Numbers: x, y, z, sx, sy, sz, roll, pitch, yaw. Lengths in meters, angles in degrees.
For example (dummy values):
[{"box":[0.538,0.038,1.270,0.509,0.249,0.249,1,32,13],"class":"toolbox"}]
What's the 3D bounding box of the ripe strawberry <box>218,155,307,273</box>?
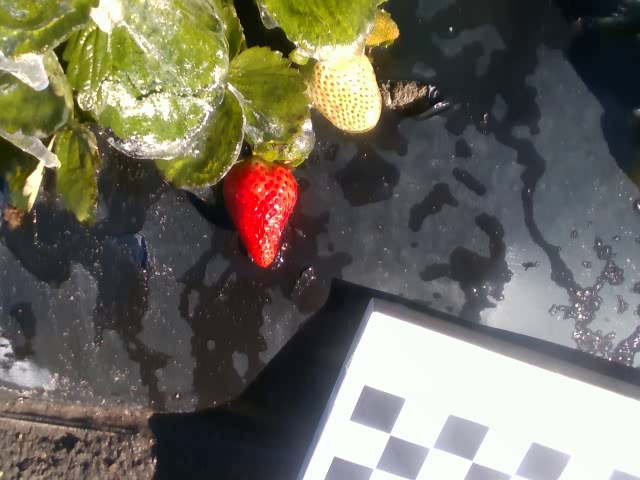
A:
[{"box":[-0.028,-0.008,0.290,0.041,0.052,0.040,2,12,1],"class":"ripe strawberry"}]
